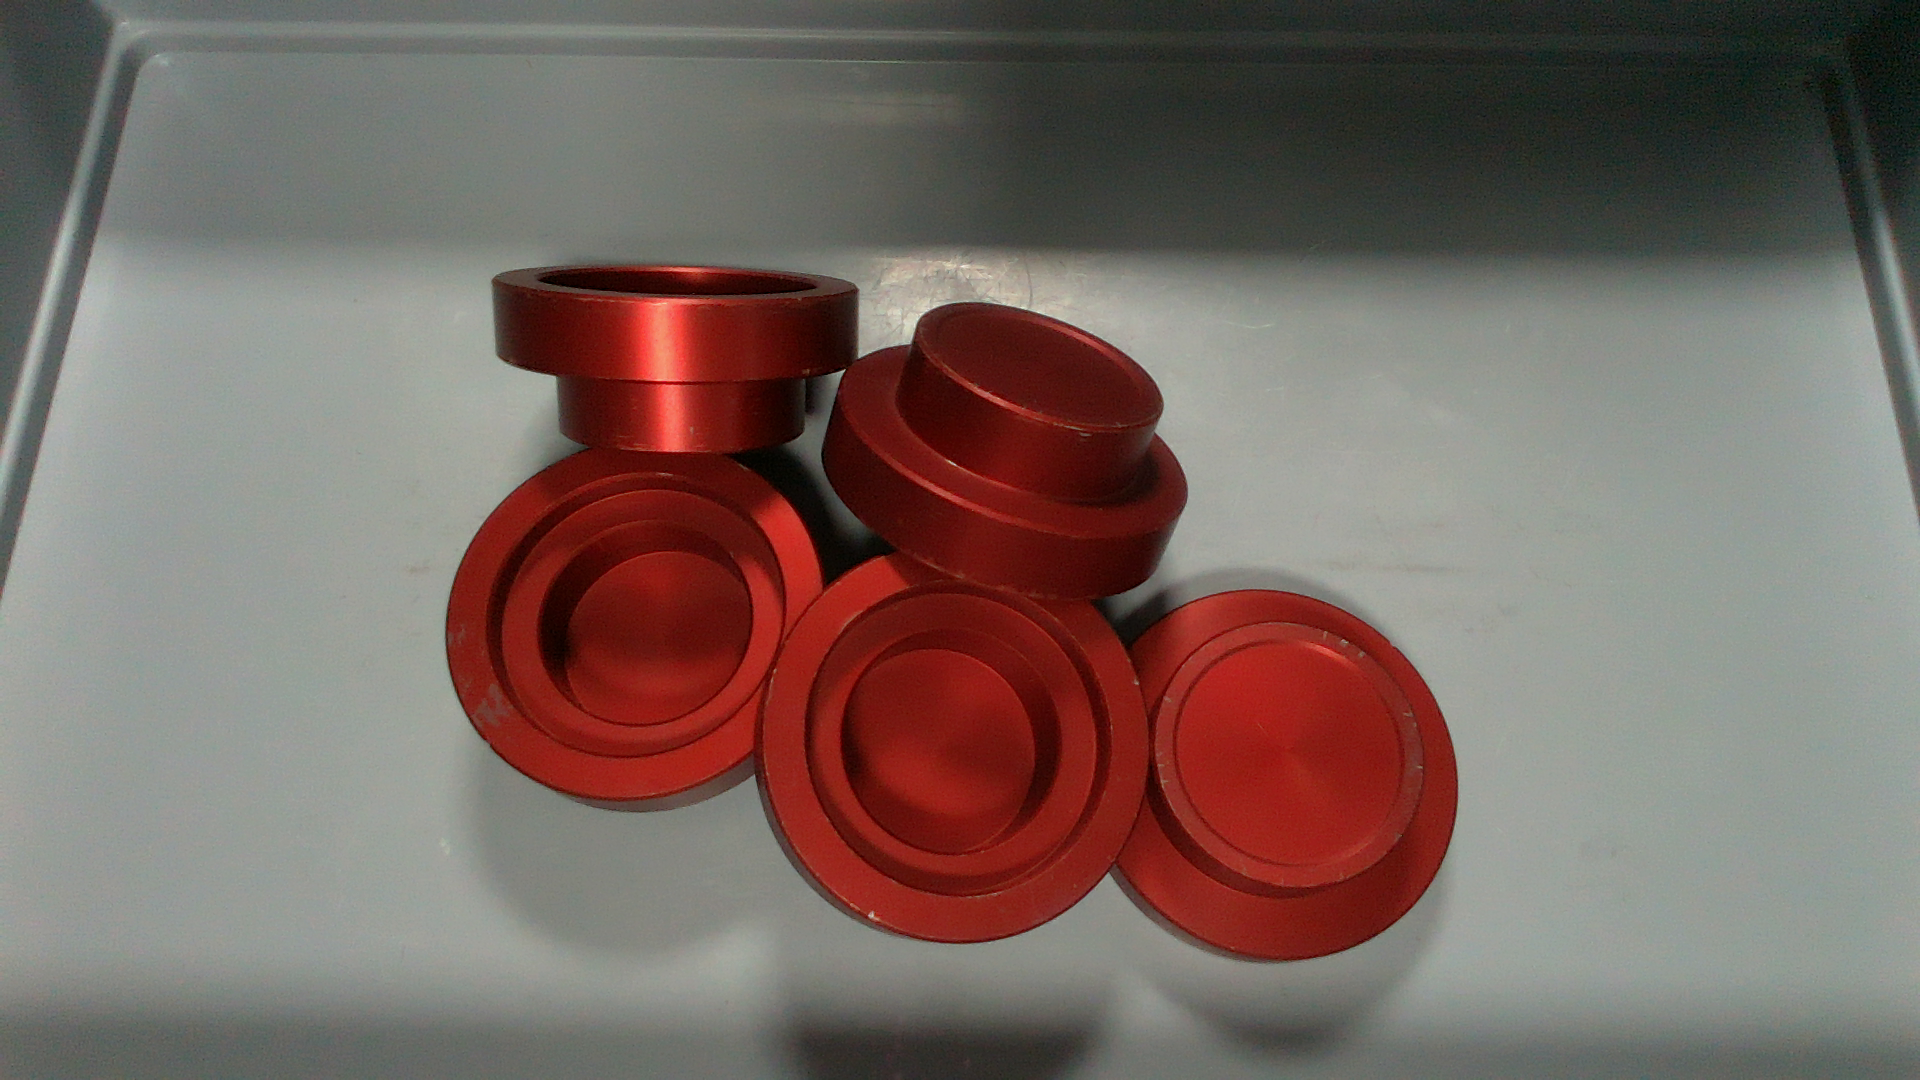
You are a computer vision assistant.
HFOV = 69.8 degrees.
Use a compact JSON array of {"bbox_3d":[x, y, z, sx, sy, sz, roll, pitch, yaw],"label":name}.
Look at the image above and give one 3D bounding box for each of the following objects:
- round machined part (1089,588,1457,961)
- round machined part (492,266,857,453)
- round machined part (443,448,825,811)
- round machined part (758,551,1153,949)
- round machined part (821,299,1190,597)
[{"bbox_3d":[0.082,0.059,0.362,0.098,0.042,0.098,0,70,0],"label":"round machined part"},{"bbox_3d":[-0.078,-0.052,0.384,0.098,0.098,0.042,2,105,1],"label":"round machined part"},{"bbox_3d":[-0.084,0.025,0.374,0.098,0.042,0.098,0,70,0],"label":"round machined part"},{"bbox_3d":[-0.004,0.053,0.353,0.098,0.042,0.098,3,76,-13],"label":"round machined part"},{"bbox_3d":[0.016,-0.030,0.366,0.098,0.042,0.098,14,30,-8],"label":"round machined part"}]
